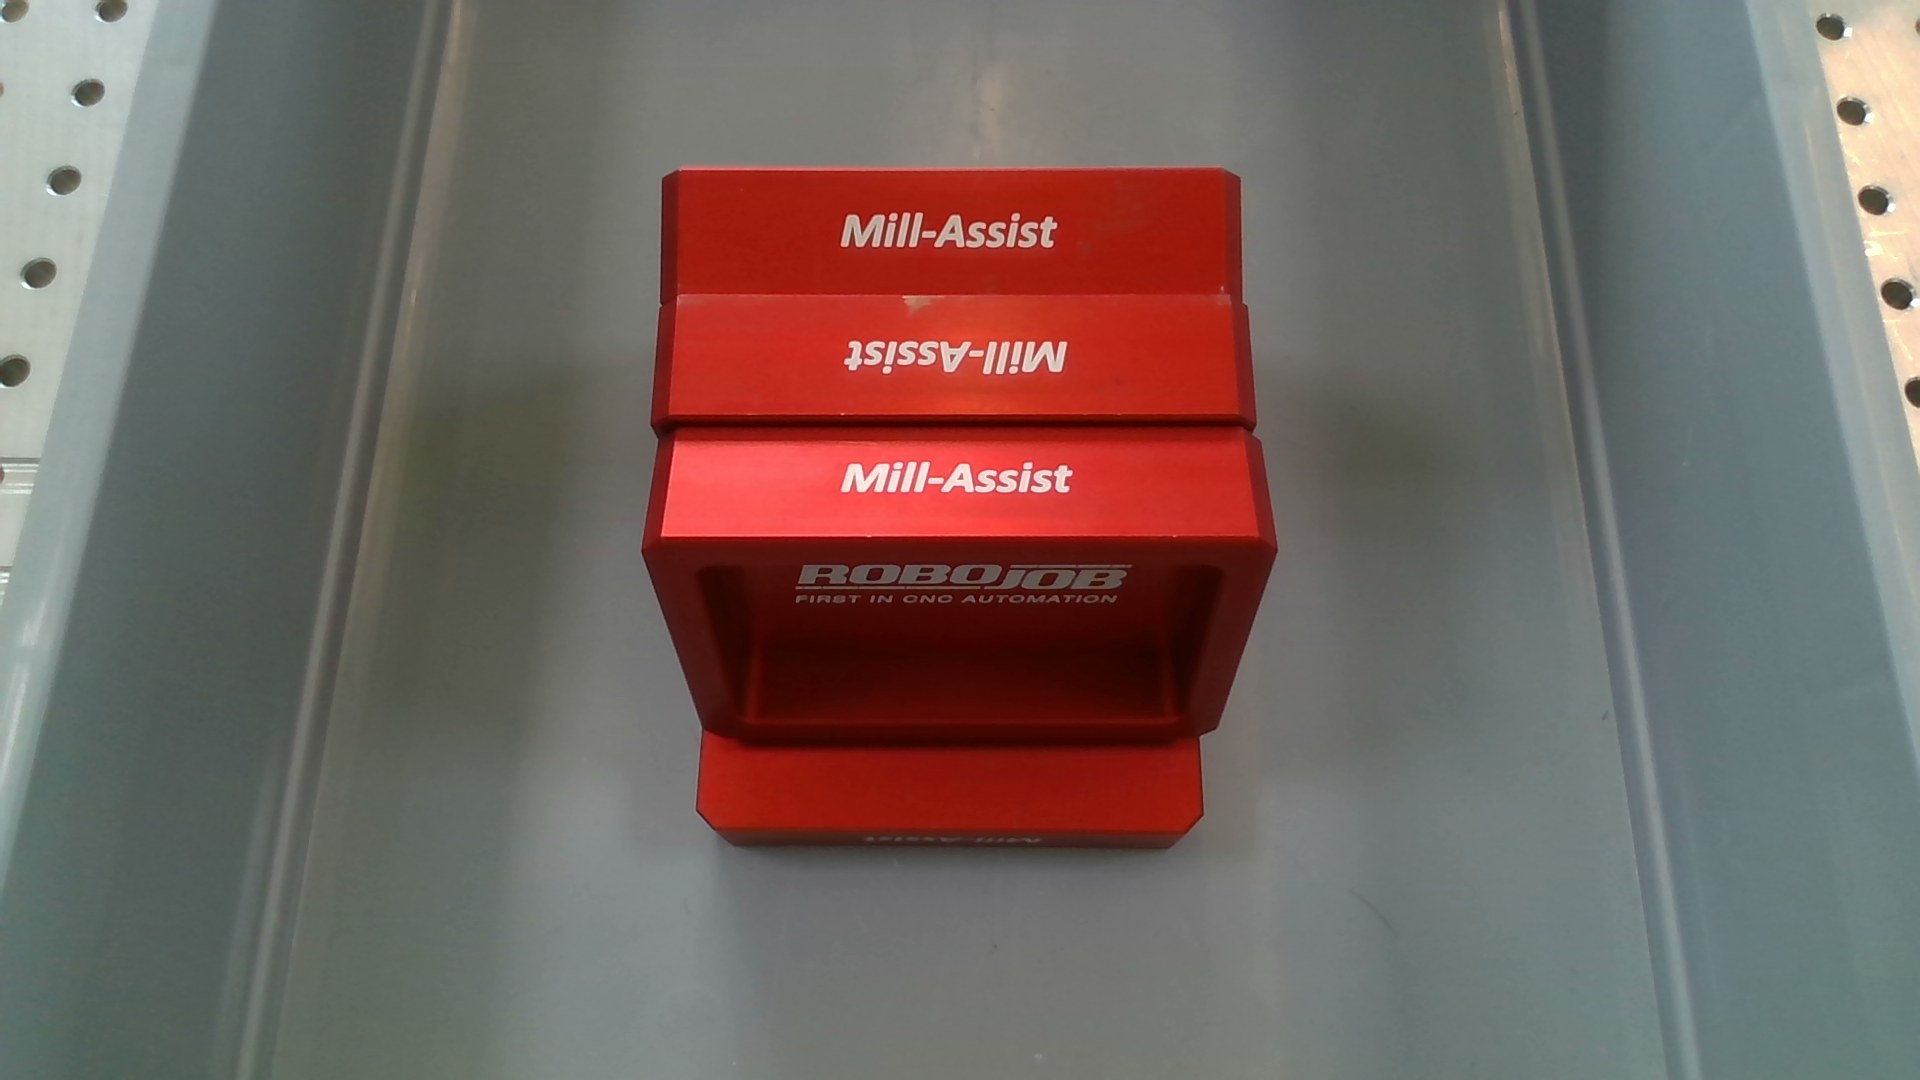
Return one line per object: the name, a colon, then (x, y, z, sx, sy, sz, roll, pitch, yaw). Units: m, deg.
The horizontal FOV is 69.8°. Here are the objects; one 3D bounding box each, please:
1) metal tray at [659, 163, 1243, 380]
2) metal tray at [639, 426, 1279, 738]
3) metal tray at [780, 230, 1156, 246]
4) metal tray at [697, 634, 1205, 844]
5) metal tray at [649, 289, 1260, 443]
metal tray: (-0.002, -0.063, 0.347, 0.130, 0.090, 0.030, 0, 83, 0)
metal tray: (0.000, 0.013, 0.321, 0.130, 0.090, 0.030, 0, 56, 0)
metal tray: (0.000, -0.049, 0.408, 0.130, 0.030, 0.090, 0, 70, 0)
metal tray: (-0.002, 0.036, 0.379, 0.130, 0.030, 0.090, 0, 70, 0)
metal tray: (-0.002, -0.025, 0.335, 0.130, 0.090, 0.030, 0, 70, -2)
